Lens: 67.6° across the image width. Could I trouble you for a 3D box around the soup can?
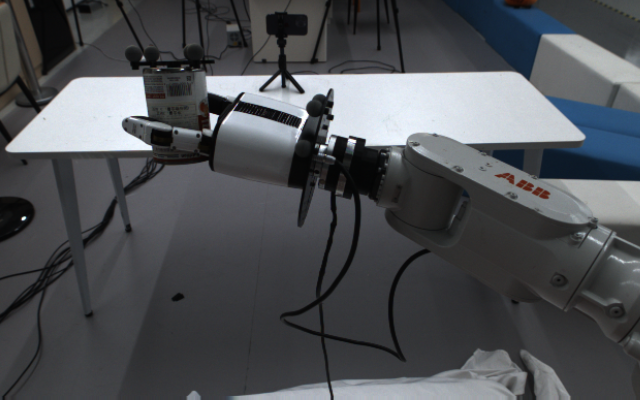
[{"bbox_3d":[-0.156,-0.094,0.540,0.067,0.101,0.067,-1,17,0],"label":"soup can"}]
